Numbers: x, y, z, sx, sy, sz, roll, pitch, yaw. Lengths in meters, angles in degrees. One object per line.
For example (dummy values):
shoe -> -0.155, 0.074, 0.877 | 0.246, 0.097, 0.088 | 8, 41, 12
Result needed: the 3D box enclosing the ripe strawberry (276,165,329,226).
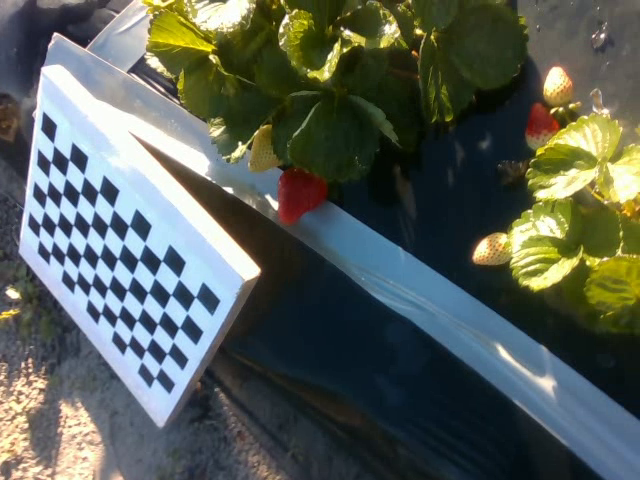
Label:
ripe strawberry -> -0.020, -0.037, 0.492 | 0.048, 0.064, 0.045 | 42, -40, -20
